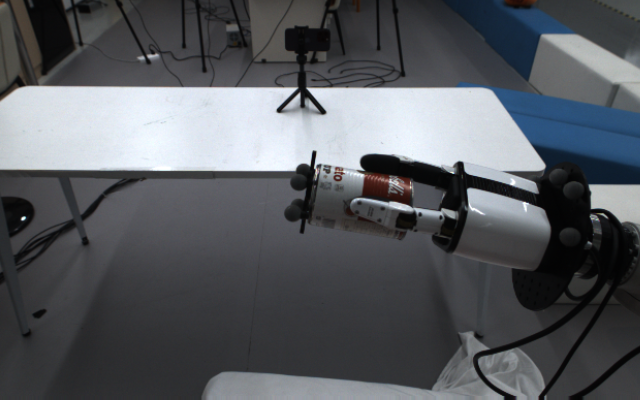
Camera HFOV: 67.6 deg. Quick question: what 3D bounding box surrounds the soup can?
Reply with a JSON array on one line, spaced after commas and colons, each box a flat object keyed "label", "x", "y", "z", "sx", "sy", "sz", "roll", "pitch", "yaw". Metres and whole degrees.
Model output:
[{"label": "soup can", "x": 0.045, "y": 0.001, "z": 0.517, "sx": 0.101, "sy": 0.067, "sz": 0.067, "roll": 9, "pitch": 35, "yaw": 0}]
